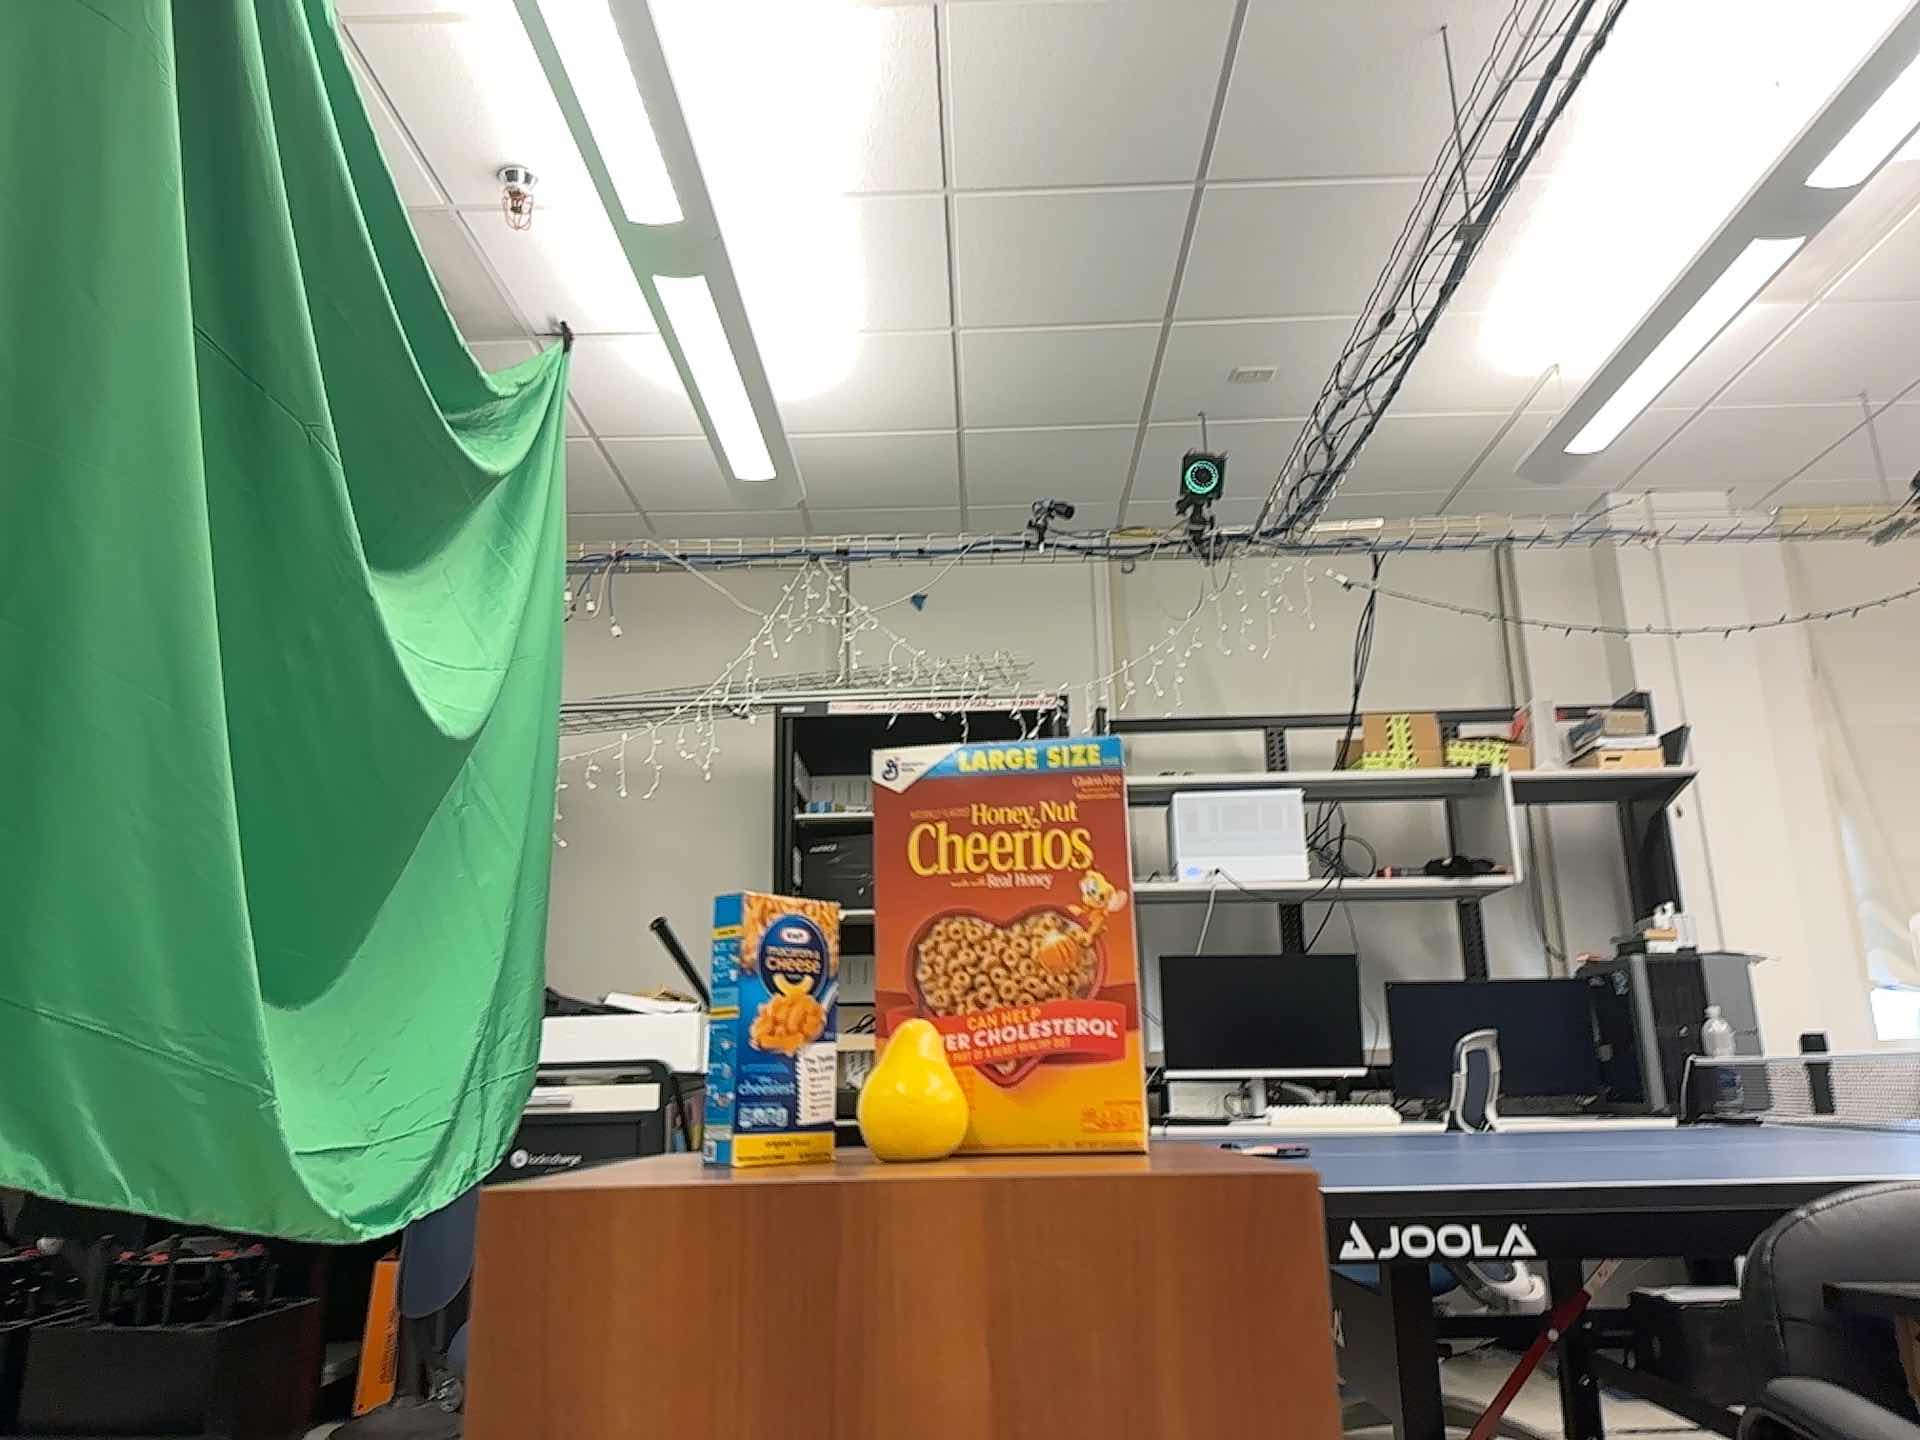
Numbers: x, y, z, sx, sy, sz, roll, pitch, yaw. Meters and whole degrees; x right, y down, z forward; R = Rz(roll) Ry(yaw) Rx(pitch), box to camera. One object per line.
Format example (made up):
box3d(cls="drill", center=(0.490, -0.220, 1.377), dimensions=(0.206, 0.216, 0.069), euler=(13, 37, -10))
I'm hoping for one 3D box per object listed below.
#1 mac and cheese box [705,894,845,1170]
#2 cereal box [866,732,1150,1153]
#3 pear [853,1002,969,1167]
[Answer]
box3d(cls="mac and cheese box", center=(-0.129, 0.220, 0.956), dimensions=(0.088, 0.181, 0.035), euler=(13, -20, -41))
box3d(cls="cereal box", center=(0.033, 0.168, 1.021), dimensions=(0.195, 0.297, 0.065), euler=(-3, -14, 7))
box3d(cls="pear", center=(-0.032, 0.247, 0.923), dimensions=(0.080, 0.111, 0.080), euler=(1, -19, 0))
